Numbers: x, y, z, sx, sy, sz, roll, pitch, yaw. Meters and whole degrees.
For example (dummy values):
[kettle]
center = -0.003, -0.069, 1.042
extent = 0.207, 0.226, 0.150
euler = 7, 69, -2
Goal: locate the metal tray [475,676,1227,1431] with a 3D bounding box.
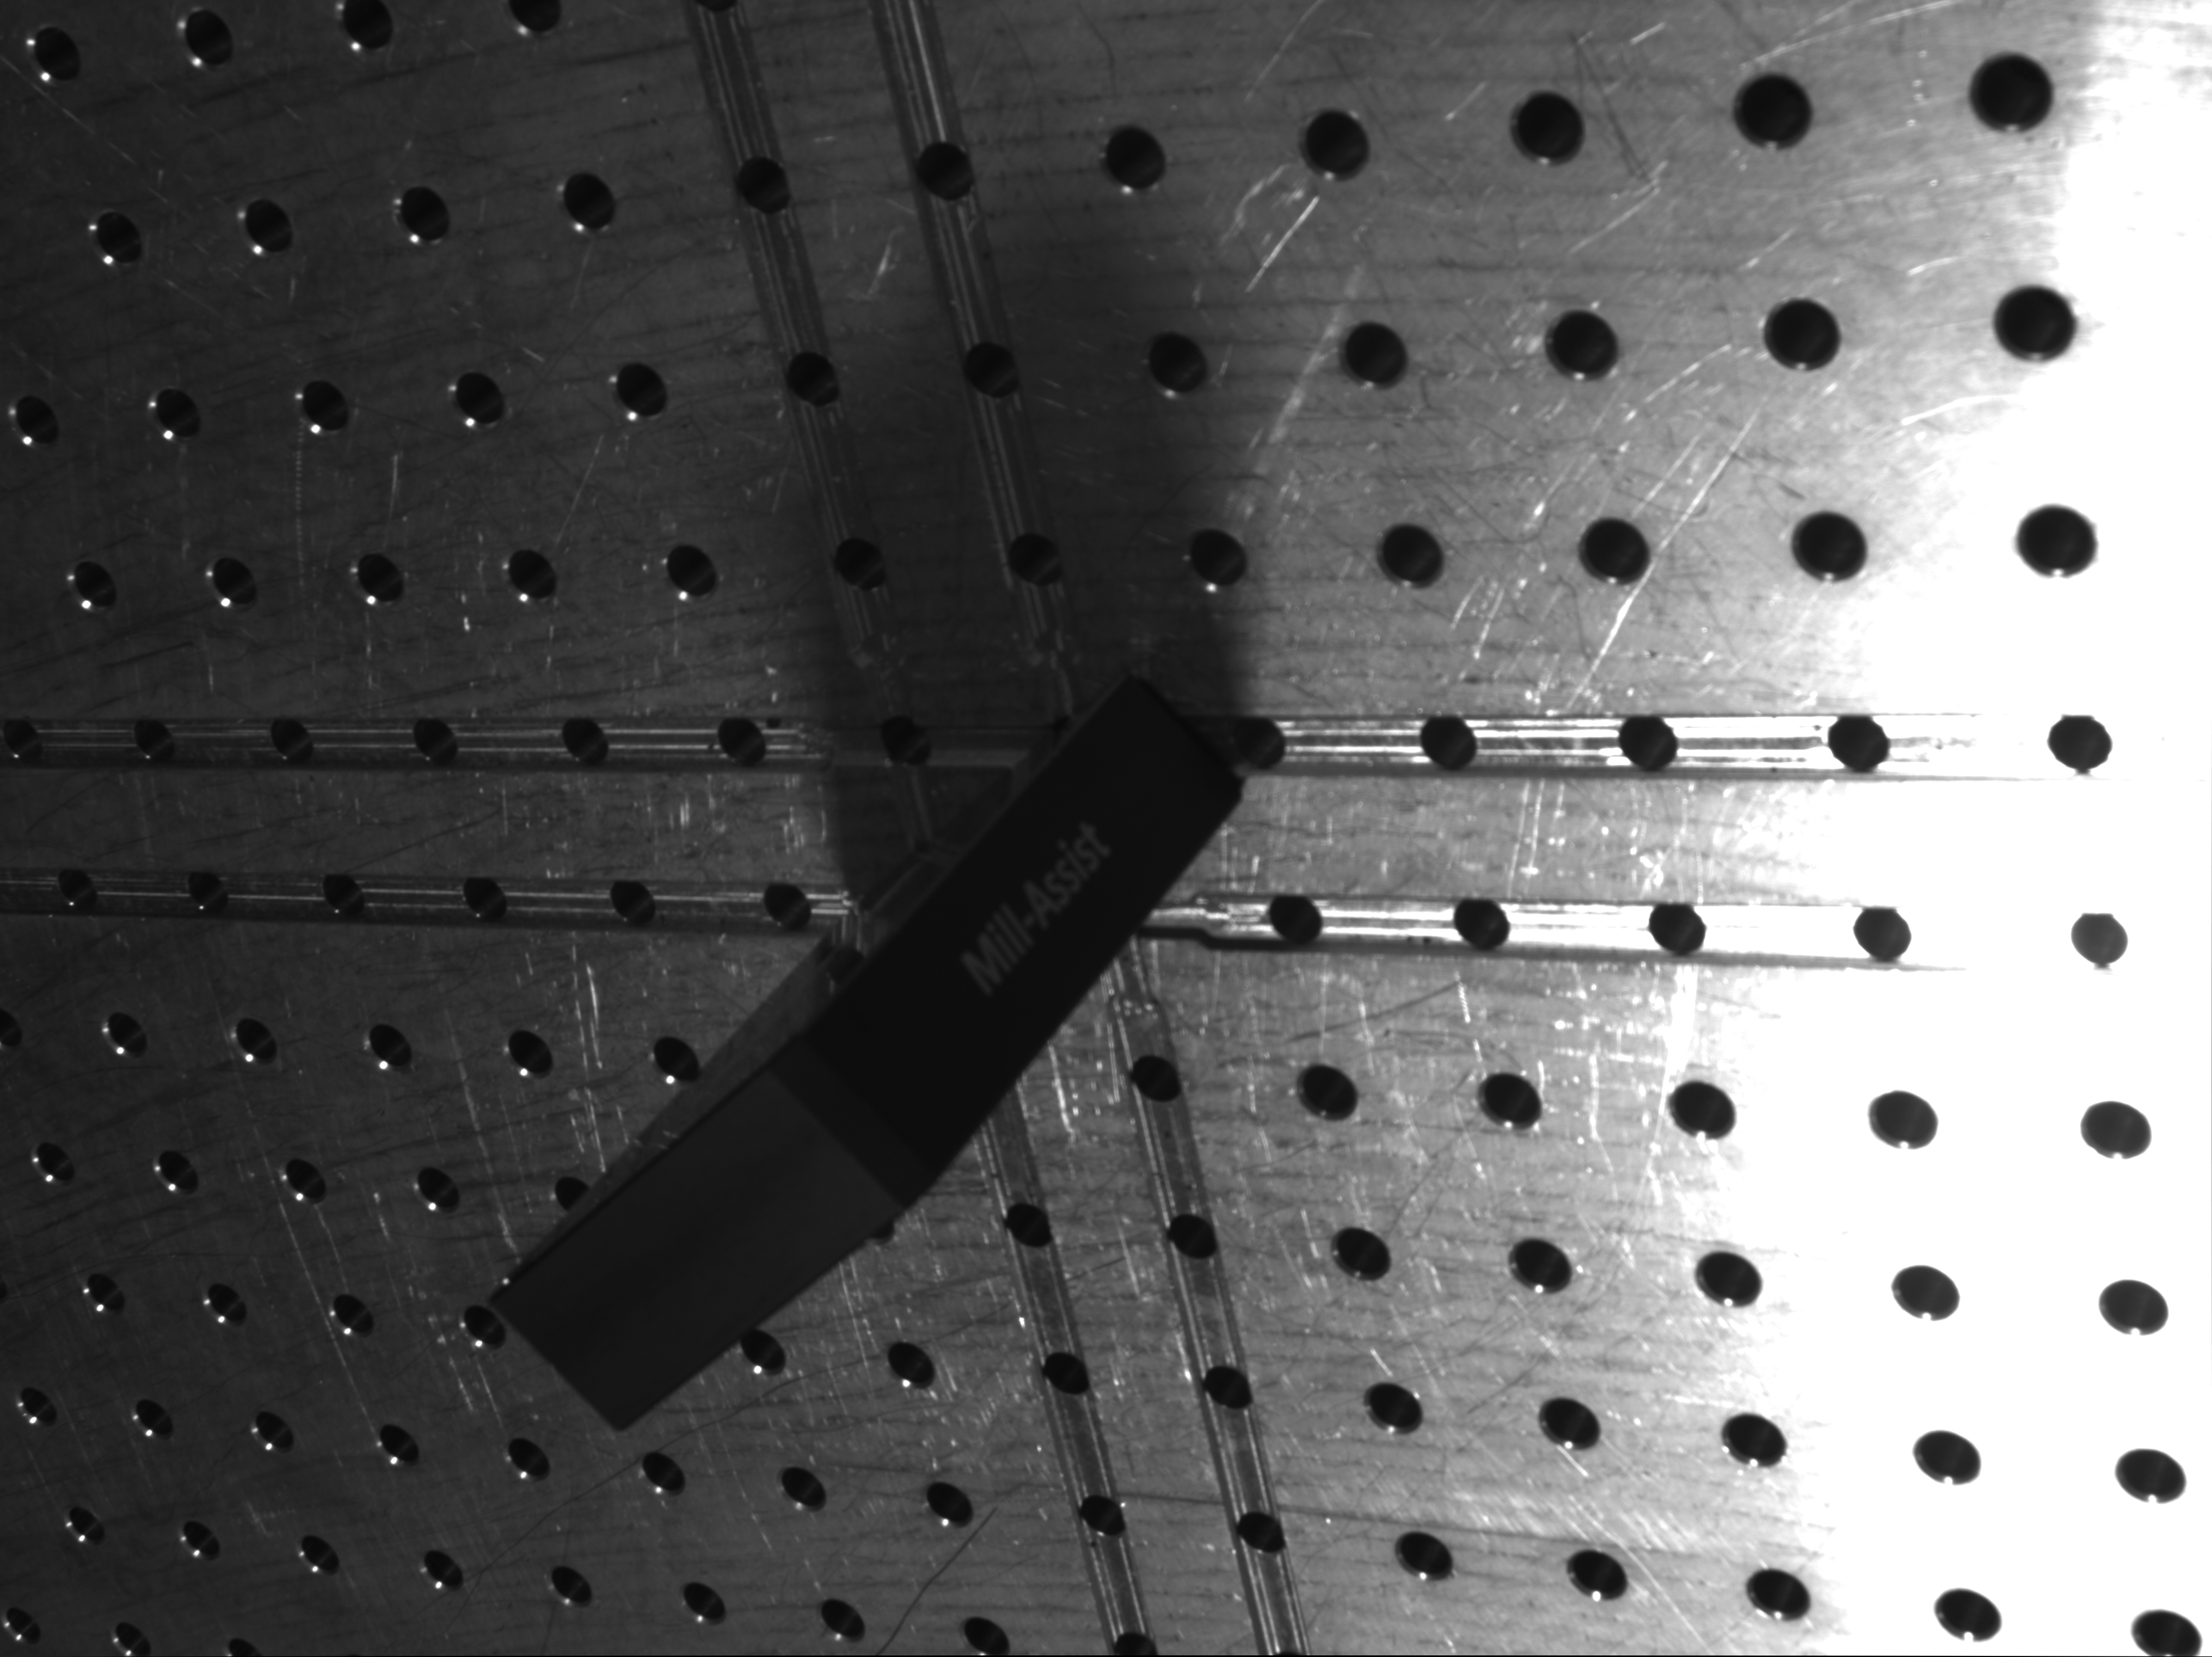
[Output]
[metal tray]
center = -0.040, 0.035, 0.608
extent = 0.030, 0.130, 0.090
euler = 47, 128, -5
